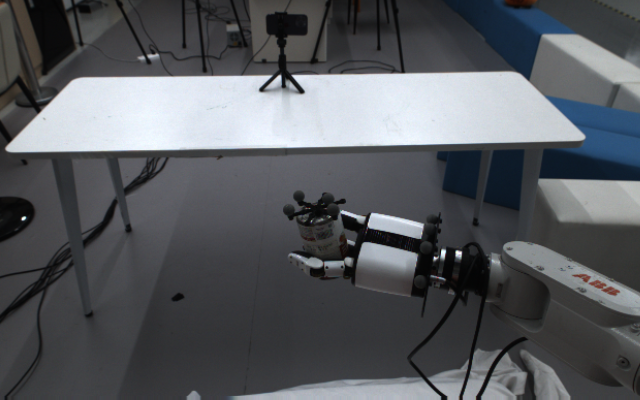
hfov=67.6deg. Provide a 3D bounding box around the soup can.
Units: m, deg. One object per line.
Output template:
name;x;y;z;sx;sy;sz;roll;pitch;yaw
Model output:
soup can;0.008;0.061;0.731;0.067;0.101;0.067;-11;27;6
